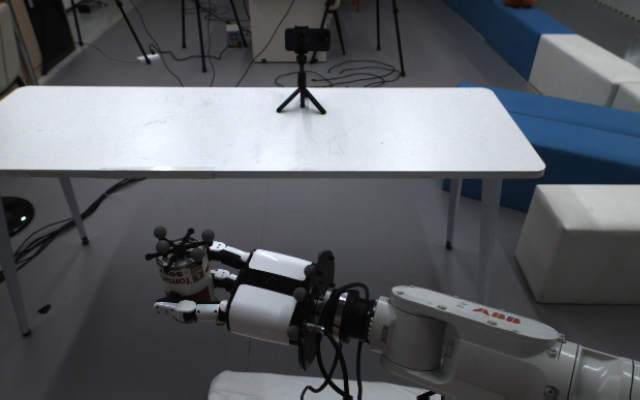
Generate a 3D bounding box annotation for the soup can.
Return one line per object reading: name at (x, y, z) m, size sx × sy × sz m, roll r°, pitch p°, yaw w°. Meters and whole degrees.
soup can at (-0.183, 0.114, 0.675) m, size 0.067 × 0.101 × 0.067 m, roll -2°, pitch 33°, yaw 1°
